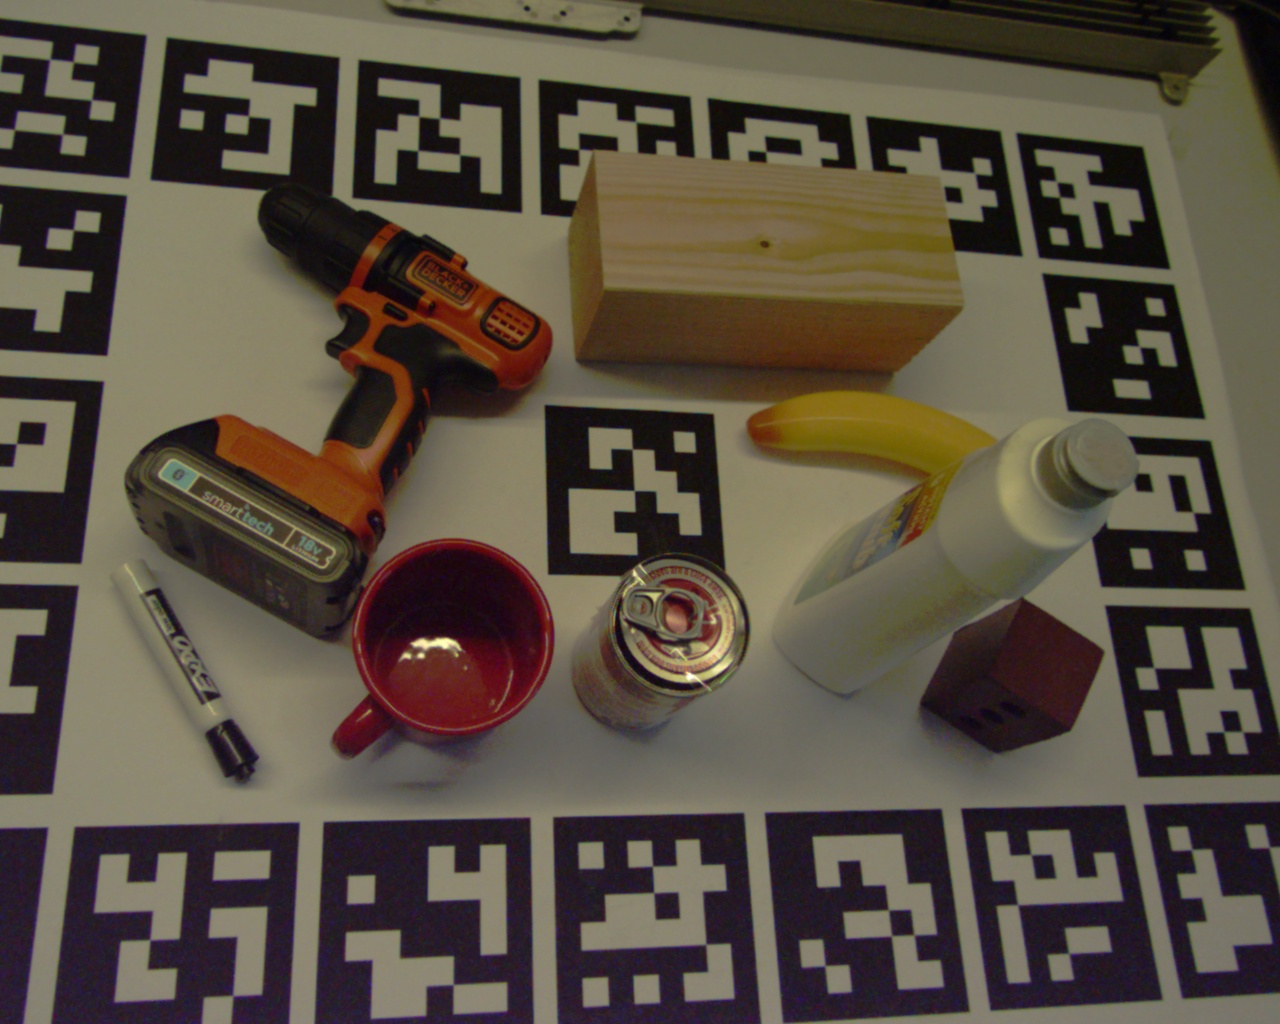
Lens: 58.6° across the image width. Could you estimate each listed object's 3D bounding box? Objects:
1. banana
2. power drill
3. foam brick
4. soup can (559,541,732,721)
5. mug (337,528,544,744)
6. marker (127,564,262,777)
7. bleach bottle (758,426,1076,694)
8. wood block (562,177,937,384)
[{"bbox_3d":[0.139,-0.044,0.705,0.196,0.039,0.074,17,81,-8],"label":"banana"},{"bbox_3d":[-0.167,-0.062,0.639,0.184,0.057,0.186,30,65,-4],"label":"power drill"},{"bbox_3d":[0.193,0.093,0.649,0.053,0.078,0.051,33,64,2],"label":"foam brick"},{"bbox_3d":[-0.001,0.065,0.593,0.067,0.102,0.068,6,65,-13],"label":"soup can"},{"bbox_3d":[-0.109,0.072,0.583,0.093,0.082,0.116,43,70,2],"label":"mug"},{"bbox_3d":[-0.229,0.082,0.589,0.019,0.020,0.121,-29,79,-19],"label":"marker"},{"bbox_3d":[0.135,0.017,0.568,0.068,0.251,0.102,29,65,-2],"label":"bleach bottle"},{"bbox_3d":[0.062,-0.138,0.698,0.205,0.091,0.090,1,71,-13],"label":"wood block"}]
